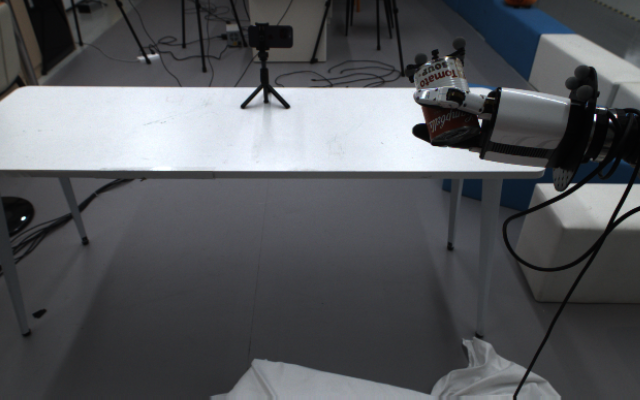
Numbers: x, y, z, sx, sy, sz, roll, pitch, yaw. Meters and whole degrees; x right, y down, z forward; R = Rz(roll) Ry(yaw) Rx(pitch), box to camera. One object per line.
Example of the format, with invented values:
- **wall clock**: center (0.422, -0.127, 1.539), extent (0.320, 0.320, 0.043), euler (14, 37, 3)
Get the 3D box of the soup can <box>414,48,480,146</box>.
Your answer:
- **soup can**: center (0.170, -0.133, 0.657), extent (0.067, 0.067, 0.101), euler (-9, 79, -16)
